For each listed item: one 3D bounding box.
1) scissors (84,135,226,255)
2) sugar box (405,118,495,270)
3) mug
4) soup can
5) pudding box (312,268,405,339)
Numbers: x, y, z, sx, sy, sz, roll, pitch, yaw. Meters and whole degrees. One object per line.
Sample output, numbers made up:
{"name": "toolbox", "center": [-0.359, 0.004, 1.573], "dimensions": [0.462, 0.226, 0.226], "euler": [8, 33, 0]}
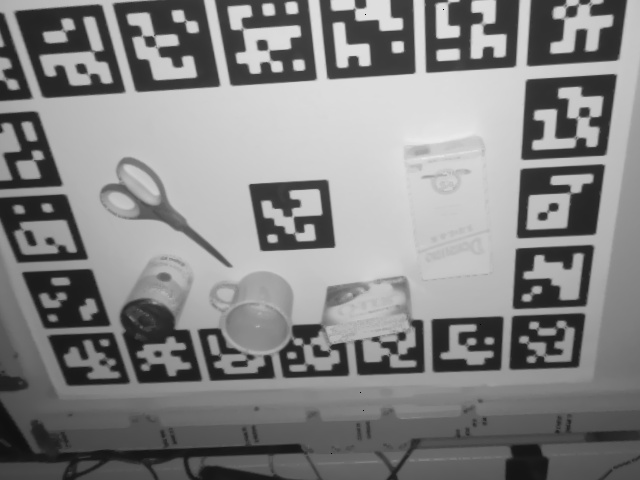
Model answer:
{"name": "scissors", "center": [-0.201, -0.042, 0.876], "dimensions": [0.203, 0.016, 0.087], "euler": [40, 103, -15]}
{"name": "sugar box", "center": [0.159, -0.053, 0.840], "dimensions": [0.093, 0.045, 0.175], "euler": [-7, 115, 5]}
{"name": "mug", "center": [-0.096, 0.086, 0.901], "dimensions": [0.092, 0.082, 0.117], "euler": [-39, 111, 18]}
{"name": "soup can", "center": [-0.216, 0.060, 0.891], "dimensions": [0.068, 0.103, 0.067], "euler": [1, 119, 3]}
{"name": "pudding box", "center": [0.051, 0.080, 0.882], "dimensions": [0.113, 0.091, 0.038], "euler": [-12, 110, 10]}
